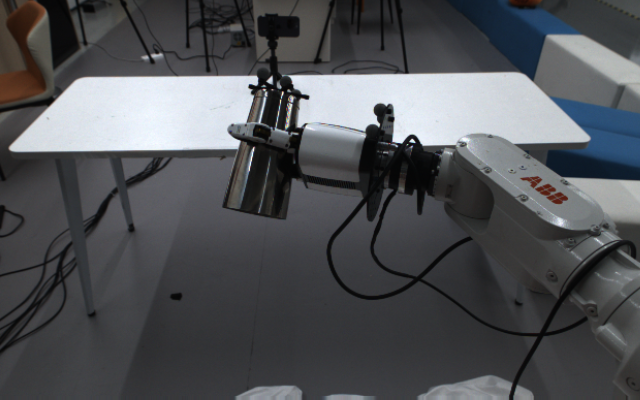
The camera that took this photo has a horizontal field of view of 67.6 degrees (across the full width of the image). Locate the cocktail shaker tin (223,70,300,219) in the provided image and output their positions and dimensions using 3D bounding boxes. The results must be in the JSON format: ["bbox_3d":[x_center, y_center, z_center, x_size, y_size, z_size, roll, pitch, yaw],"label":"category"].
[{"bbox_3d":[-0.076,-0.064,0.683,0.093,0.170,0.093,11,-5,1],"label":"cocktail shaker tin"}]
